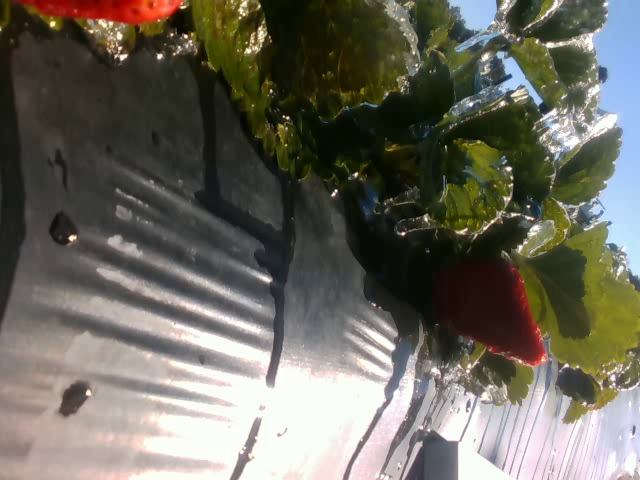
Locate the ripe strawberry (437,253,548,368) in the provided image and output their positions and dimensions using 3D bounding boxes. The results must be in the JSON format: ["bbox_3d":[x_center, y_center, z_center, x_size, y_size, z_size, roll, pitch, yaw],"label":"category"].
[{"bbox_3d":[0.071,0.031,0.231,0.041,0.047,0.053,36,14,-49],"label":"ripe strawberry"}]
